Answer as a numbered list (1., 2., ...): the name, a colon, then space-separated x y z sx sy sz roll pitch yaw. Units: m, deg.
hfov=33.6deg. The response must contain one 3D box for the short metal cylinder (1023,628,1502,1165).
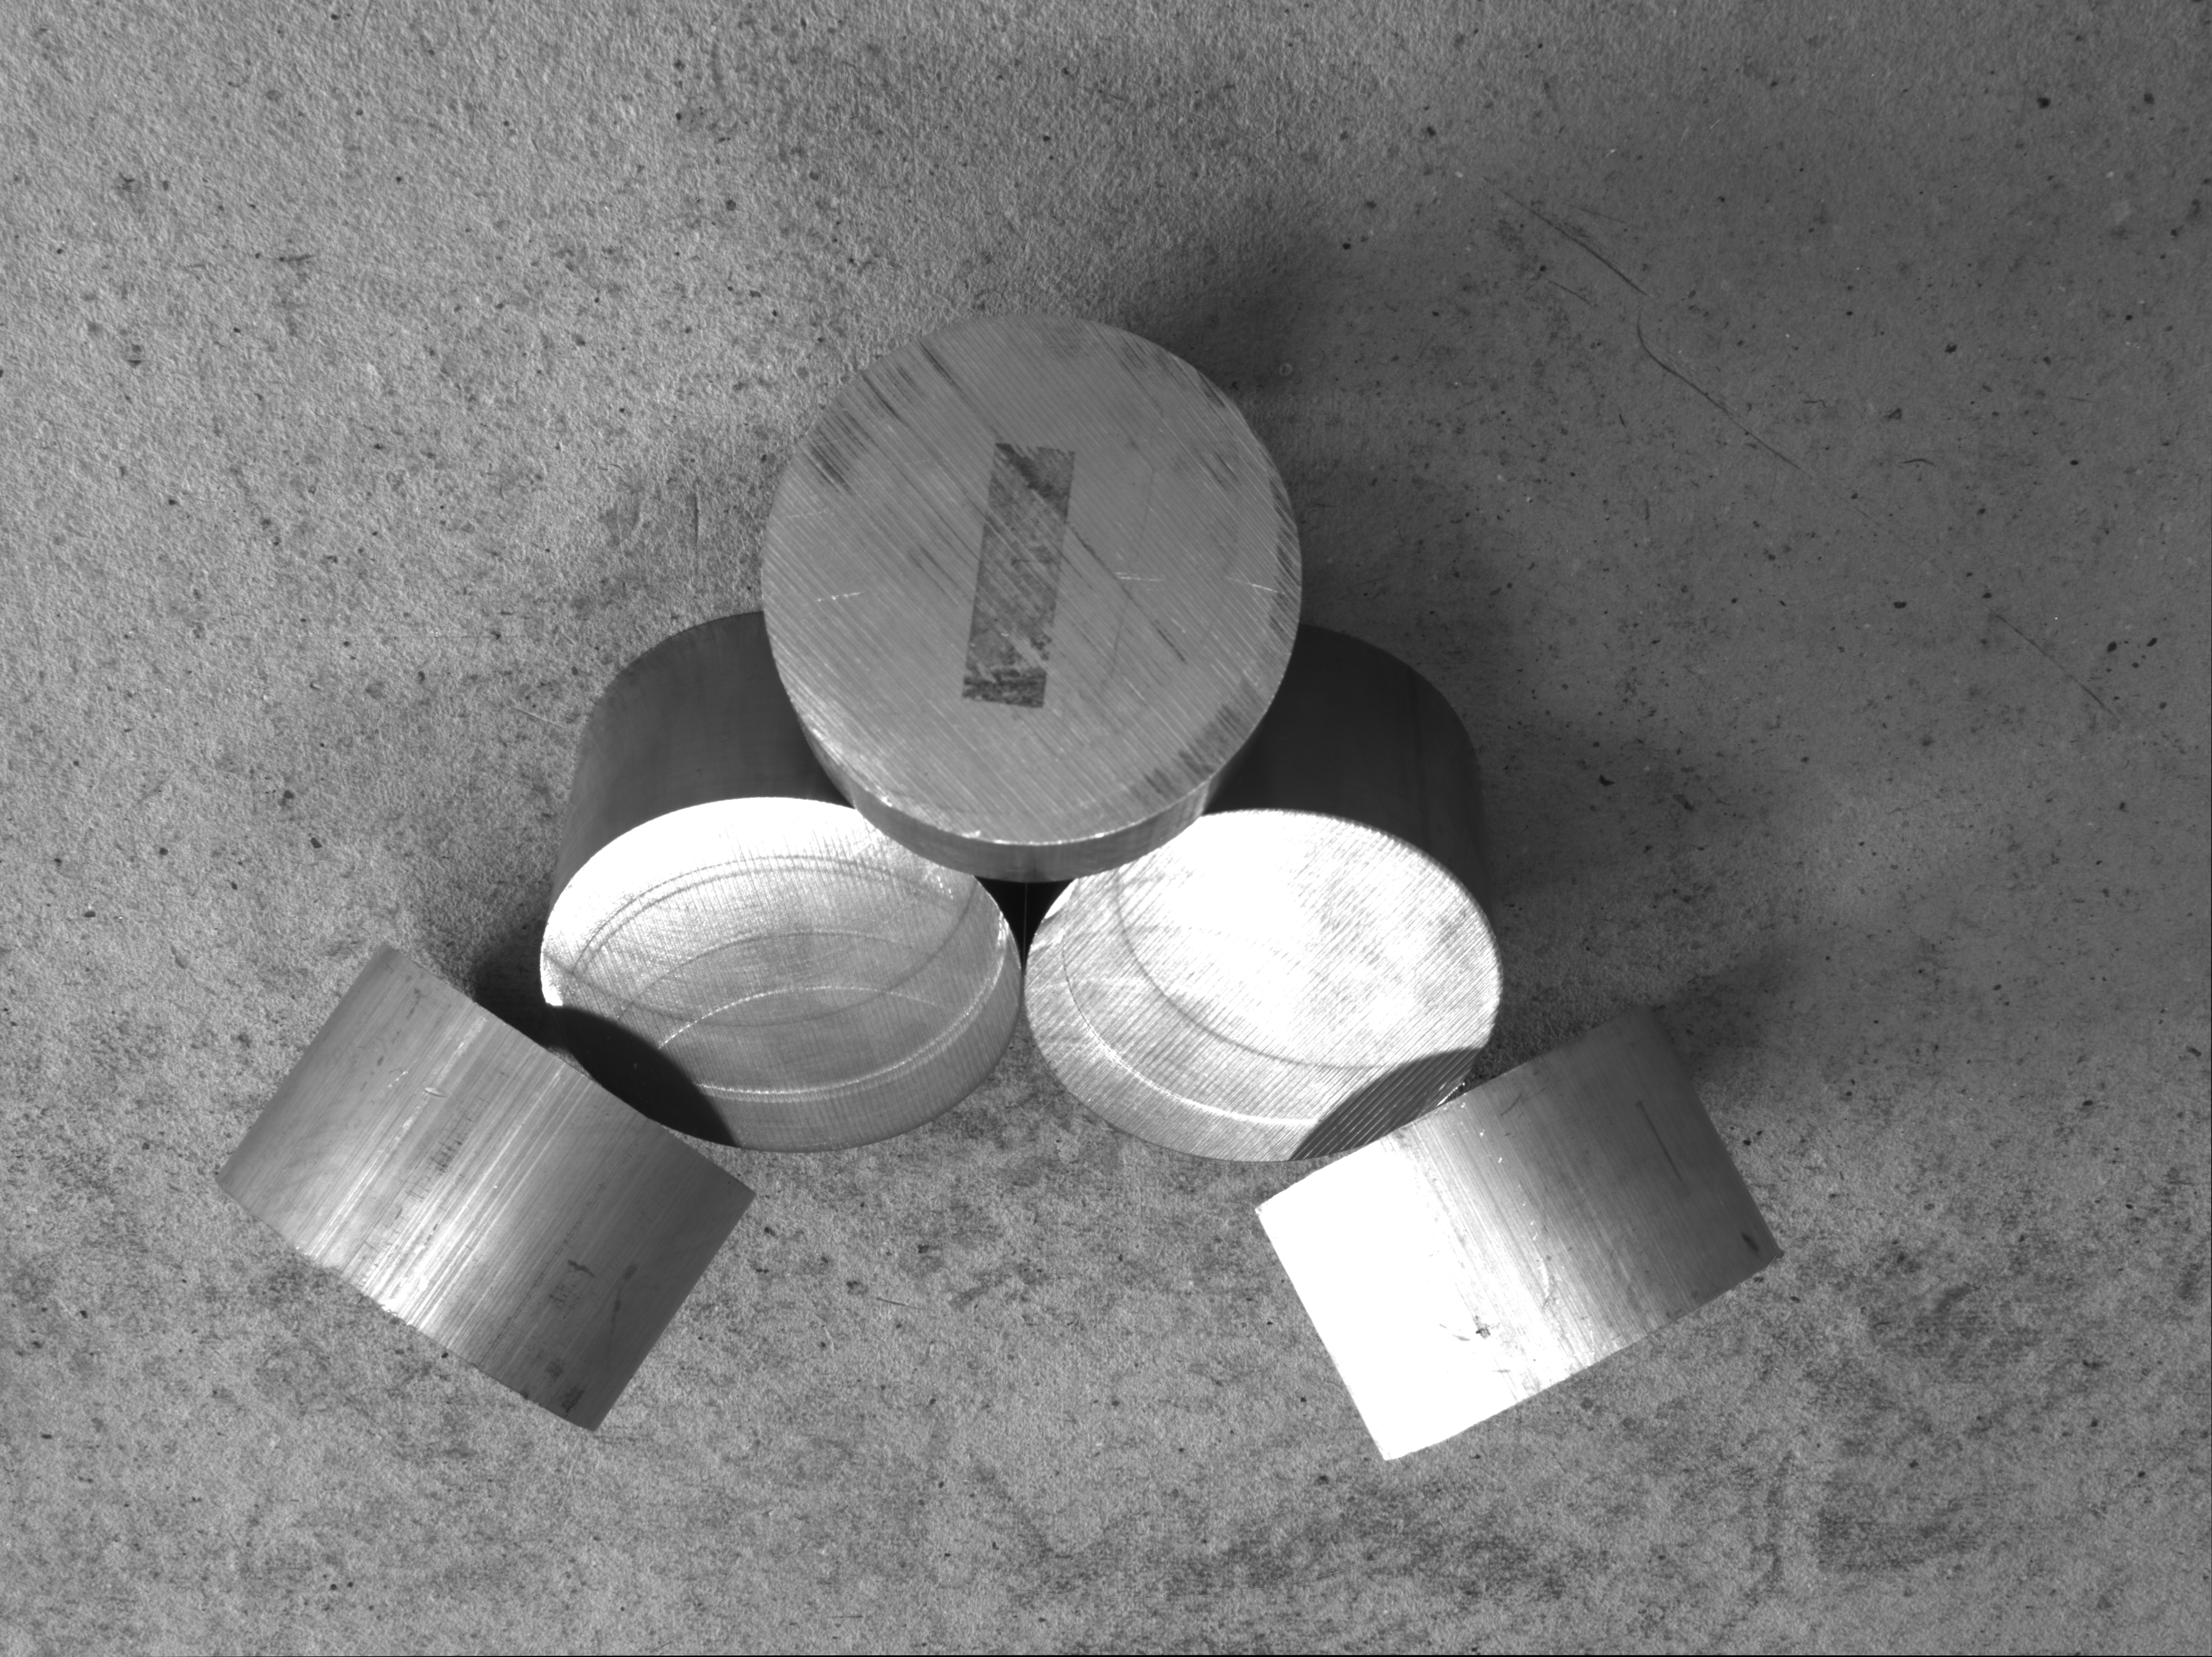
1. short metal cylinder: 0.026 0.012 0.633 0.080 0.050 0.080 0 130 0

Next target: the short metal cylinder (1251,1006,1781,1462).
1. short metal cylinder: 0.073 0.072 0.656 0.080 0.080 0.050 -30 82 23

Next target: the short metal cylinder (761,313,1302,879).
1. short metal cylinder: -0.011 -0.034 0.567 0.080 0.080 0.050 1 173 -1

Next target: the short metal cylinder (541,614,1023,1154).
1. short metal cylinder: -0.054 0.010 0.631 0.080 0.050 0.080 0 130 0

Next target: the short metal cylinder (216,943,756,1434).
1. short metal cylinder: -0.109 0.063 0.648 0.080 0.080 0.050 39 80 -28
